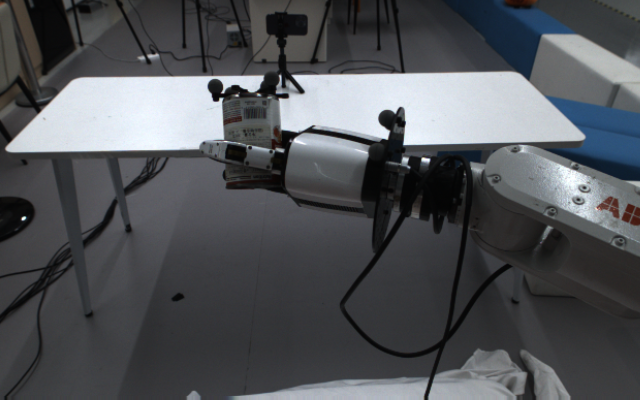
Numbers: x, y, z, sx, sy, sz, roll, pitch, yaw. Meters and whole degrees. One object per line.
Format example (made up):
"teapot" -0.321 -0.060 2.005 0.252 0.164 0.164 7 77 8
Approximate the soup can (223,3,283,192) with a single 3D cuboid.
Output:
"soup can" -0.075 -0.064 0.554 0.067 0.101 0.067 -3 -1 0
